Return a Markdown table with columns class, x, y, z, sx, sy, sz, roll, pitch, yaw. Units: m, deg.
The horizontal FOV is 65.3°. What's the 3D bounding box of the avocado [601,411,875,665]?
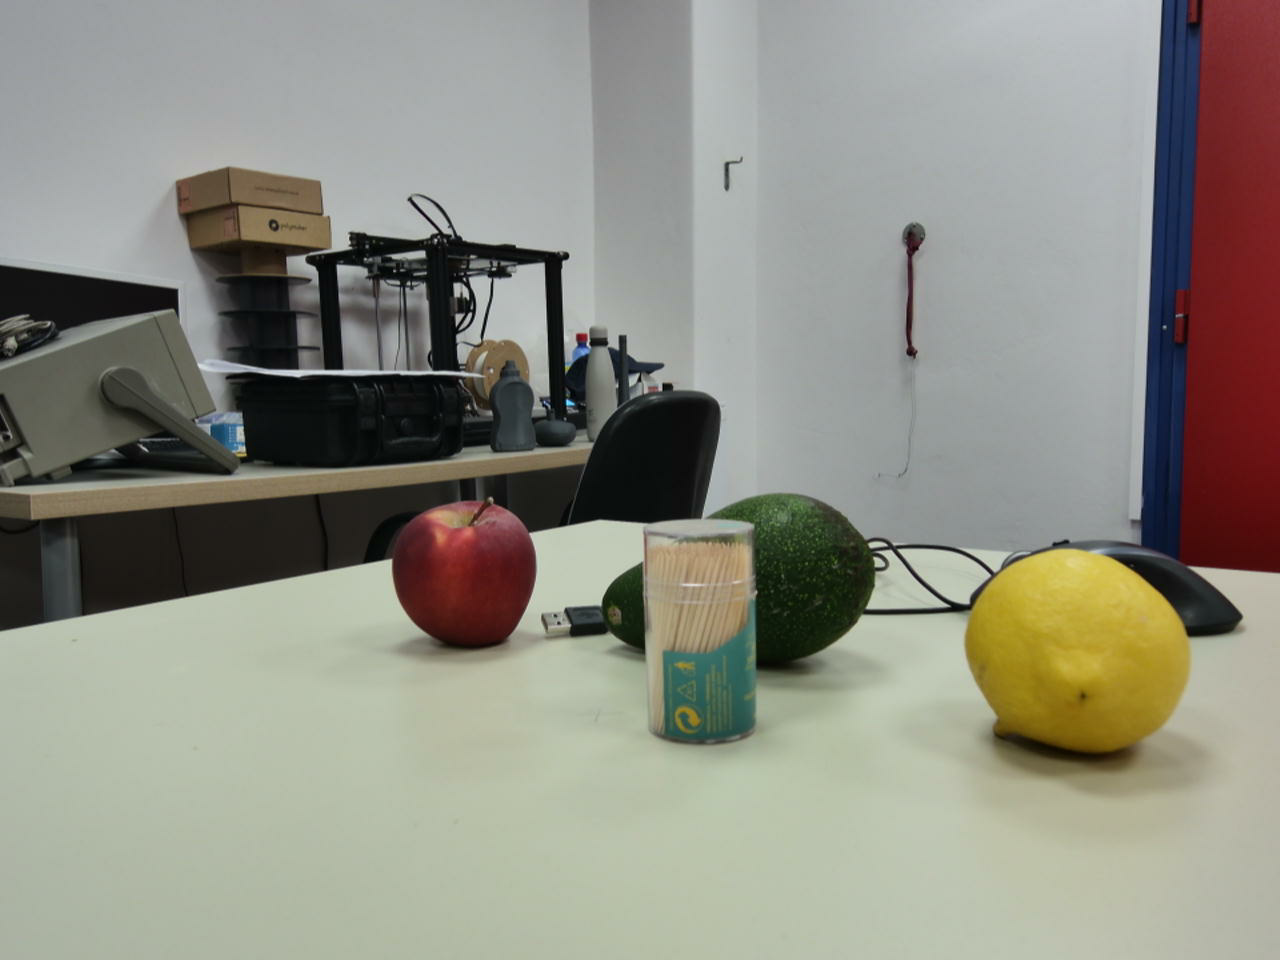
| class | x | y | z | sx | sy | sz | roll | pitch | yaw |
| --- | --- | --- | --- | --- | --- | --- | --- | --- | --- |
| avocado | 0.048 | 0.043 | 0.454 | 0.123 | 0.076 | 0.074 | 3 | 4 | 44 |
